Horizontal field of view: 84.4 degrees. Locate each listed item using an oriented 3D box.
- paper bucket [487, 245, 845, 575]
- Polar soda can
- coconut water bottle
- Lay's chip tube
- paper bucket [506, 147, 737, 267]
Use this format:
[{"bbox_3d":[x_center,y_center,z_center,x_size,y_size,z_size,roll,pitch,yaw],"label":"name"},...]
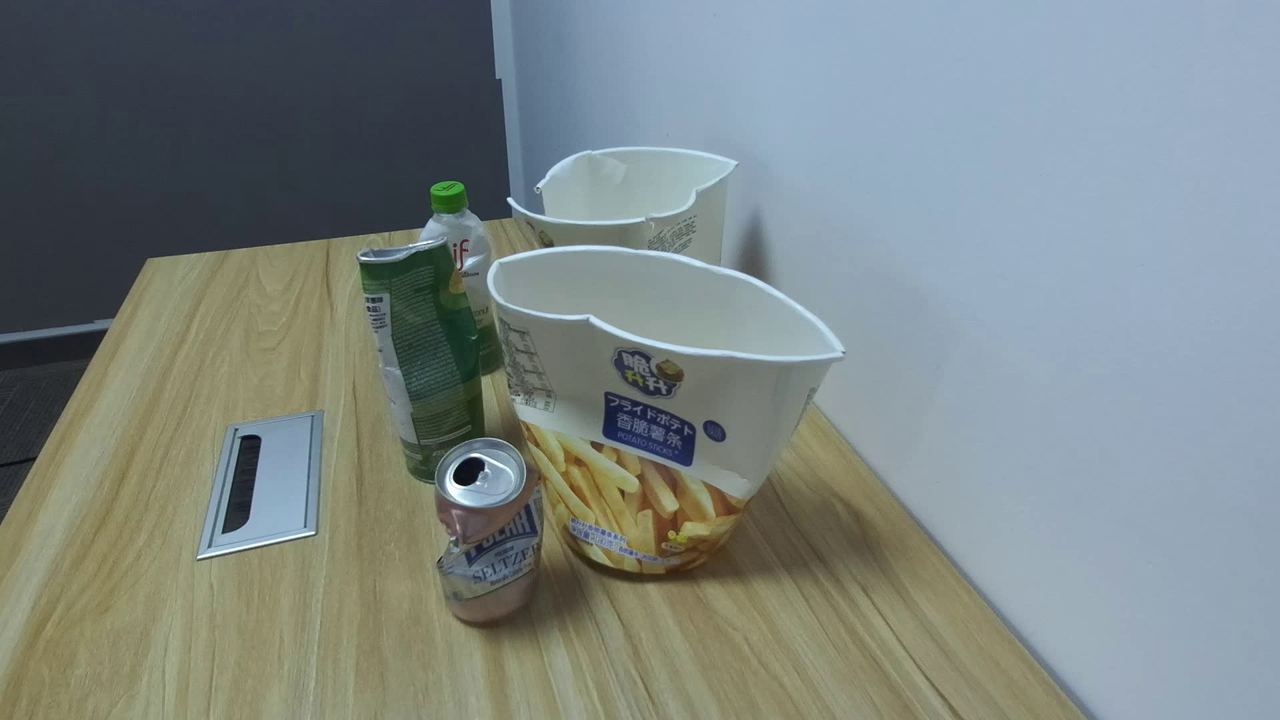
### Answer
[{"bbox_3d":[0.008,0.037,0.505,0.218,0.199,0.147,-3,35,-4],"label":"paper bucket"},{"bbox_3d":[-0.100,0.116,0.464,0.066,0.122,0.071,11,37,5],"label":"Polar soda can"},{"bbox_3d":[-0.167,-0.069,0.660,0.067,0.187,0.067,-4,14,1],"label":"coconut water bottle"},{"bbox_3d":[-0.169,0.000,0.566,0.079,0.199,0.070,-15,29,-26],"label":"Lay's chip tube"},{"bbox_3d":[-0.006,-0.083,0.677,0.145,0.197,0.203,14,37,22],"label":"paper bucket"}]
